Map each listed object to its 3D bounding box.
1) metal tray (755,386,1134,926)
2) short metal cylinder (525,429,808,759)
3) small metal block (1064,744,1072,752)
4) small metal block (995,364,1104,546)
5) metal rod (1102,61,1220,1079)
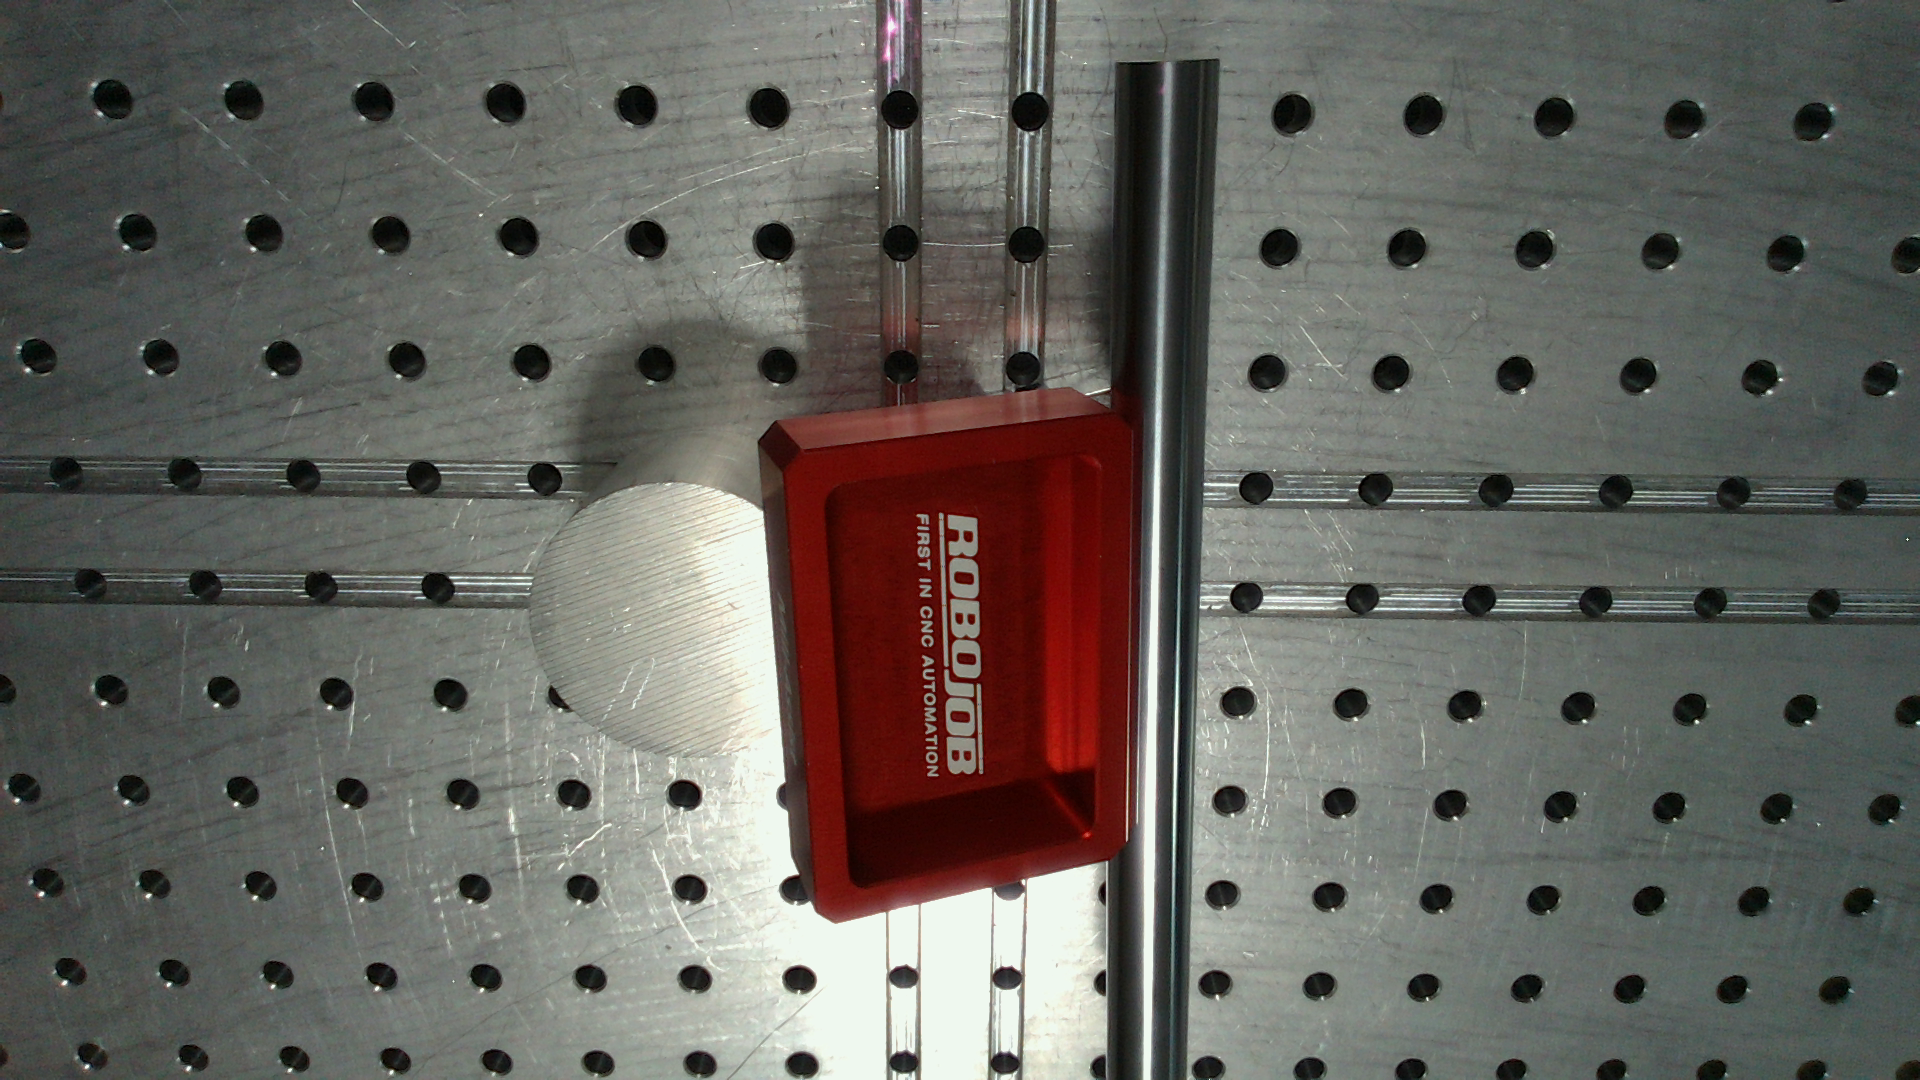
[{"bbox_3d":[-0.002,0.030,0.362,0.090,0.030,0.130,-9,111,-18],"label":"metal tray"},{"bbox_3d":[-0.075,0.014,0.387,0.080,0.050,0.080,0,110,0],"label":"short metal cylinder"},{"bbox_3d":[0.027,0.063,0.419,0.050,0.025,0.050,37,106,-13],"label":"small metal block"},{"bbox_3d":[0.037,-0.021,0.389,0.050,0.025,0.050,-14,110,5],"label":"small metal block"},{"bbox_3d":[0.053,0.027,0.380,0.025,0.025,0.300,-1,110,0],"label":"metal rod"}]
